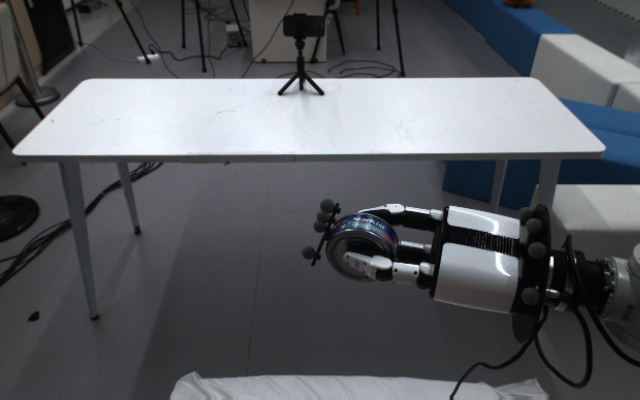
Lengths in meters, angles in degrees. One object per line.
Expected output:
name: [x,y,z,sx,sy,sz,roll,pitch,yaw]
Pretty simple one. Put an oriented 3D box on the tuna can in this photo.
tuna can: [0.053,0.057,0.592,0.085,0.085,0.034,9,35,10]
